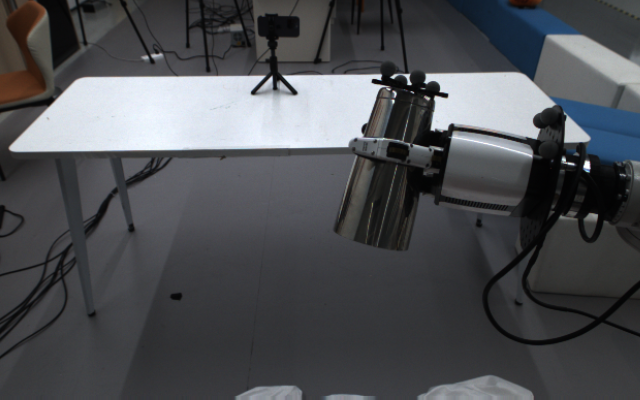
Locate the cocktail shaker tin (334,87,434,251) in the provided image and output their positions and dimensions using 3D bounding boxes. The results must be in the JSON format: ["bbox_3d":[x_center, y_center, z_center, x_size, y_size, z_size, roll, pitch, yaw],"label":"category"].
[{"bbox_3d":[0.082,-0.037,0.559,0.093,0.170,0.093,13,6,-2],"label":"cocktail shaker tin"}]
